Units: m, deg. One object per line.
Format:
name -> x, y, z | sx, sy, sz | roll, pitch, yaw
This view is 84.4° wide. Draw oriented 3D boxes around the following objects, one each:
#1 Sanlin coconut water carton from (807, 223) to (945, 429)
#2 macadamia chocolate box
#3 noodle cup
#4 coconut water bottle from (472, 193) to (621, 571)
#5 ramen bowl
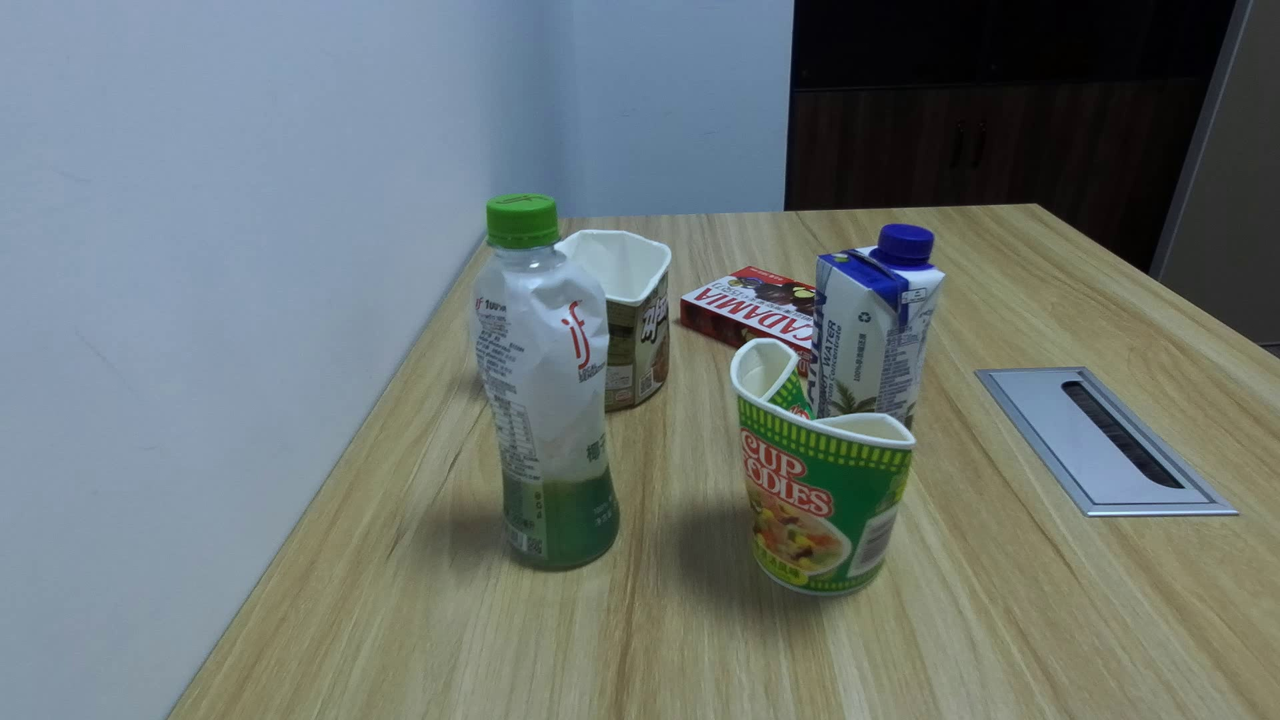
Sanlin coconut water carton -> 0.133, -0.005, 0.412 | 0.061, 0.144, 0.060 | -13, 32, -17
macadamia chocolate box -> 0.127, -0.029, 0.580 | 0.096, 0.027, 0.177 | -26, 37, -34
noodle cup -> 0.089, 0.053, 0.346 | 0.075, 0.122, 0.082 | -5, 38, 13
coconut water bottle -> -0.046, 0.014, 0.351 | 0.067, 0.187, 0.067 | -3, 25, 2
ramen bowl -> -0.031, -0.036, 0.527 | 0.113, 0.097, 0.134 | 6, 30, 14
